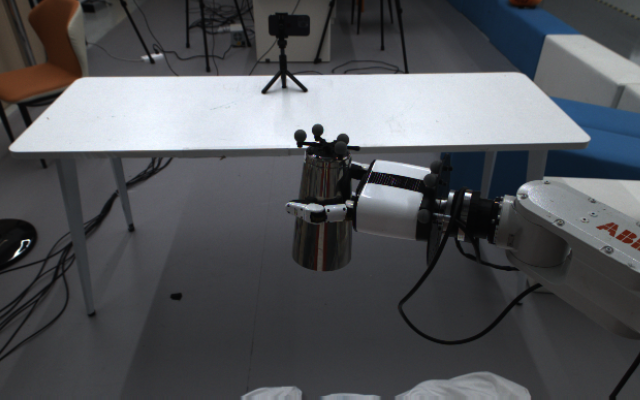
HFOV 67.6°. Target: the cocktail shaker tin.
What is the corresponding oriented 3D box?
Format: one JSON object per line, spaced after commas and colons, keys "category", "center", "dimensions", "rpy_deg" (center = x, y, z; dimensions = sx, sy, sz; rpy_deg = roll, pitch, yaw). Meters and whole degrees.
{"category": "cocktail shaker tin", "center": [0.007, 0.008, 0.712], "dimensions": [0.093, 0.170, 0.093], "rpy_deg": [3, 26, -1]}
